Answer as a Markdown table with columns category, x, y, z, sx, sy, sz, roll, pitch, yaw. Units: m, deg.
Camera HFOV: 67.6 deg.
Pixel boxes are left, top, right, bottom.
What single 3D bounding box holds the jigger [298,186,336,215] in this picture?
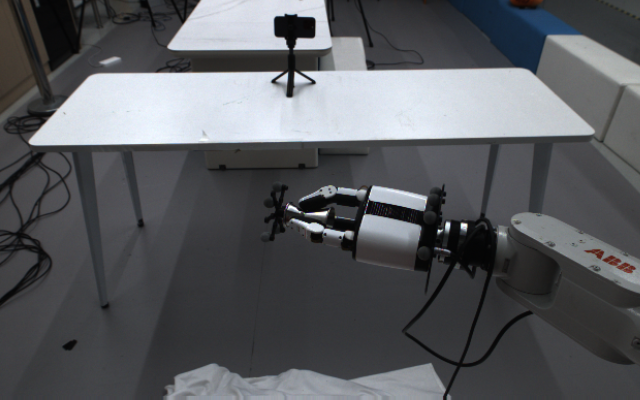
| category | x | y | z | sx | sy | sz | roll | pitch | yaw |
| --- | --- | --- | --- | --- | --- | --- | --- | --- | --- |
| jigger | -0.010 | 0.024 | 0.725 | 0.071 | 0.043 | 0.043 | 9 | 35 | 17 |
